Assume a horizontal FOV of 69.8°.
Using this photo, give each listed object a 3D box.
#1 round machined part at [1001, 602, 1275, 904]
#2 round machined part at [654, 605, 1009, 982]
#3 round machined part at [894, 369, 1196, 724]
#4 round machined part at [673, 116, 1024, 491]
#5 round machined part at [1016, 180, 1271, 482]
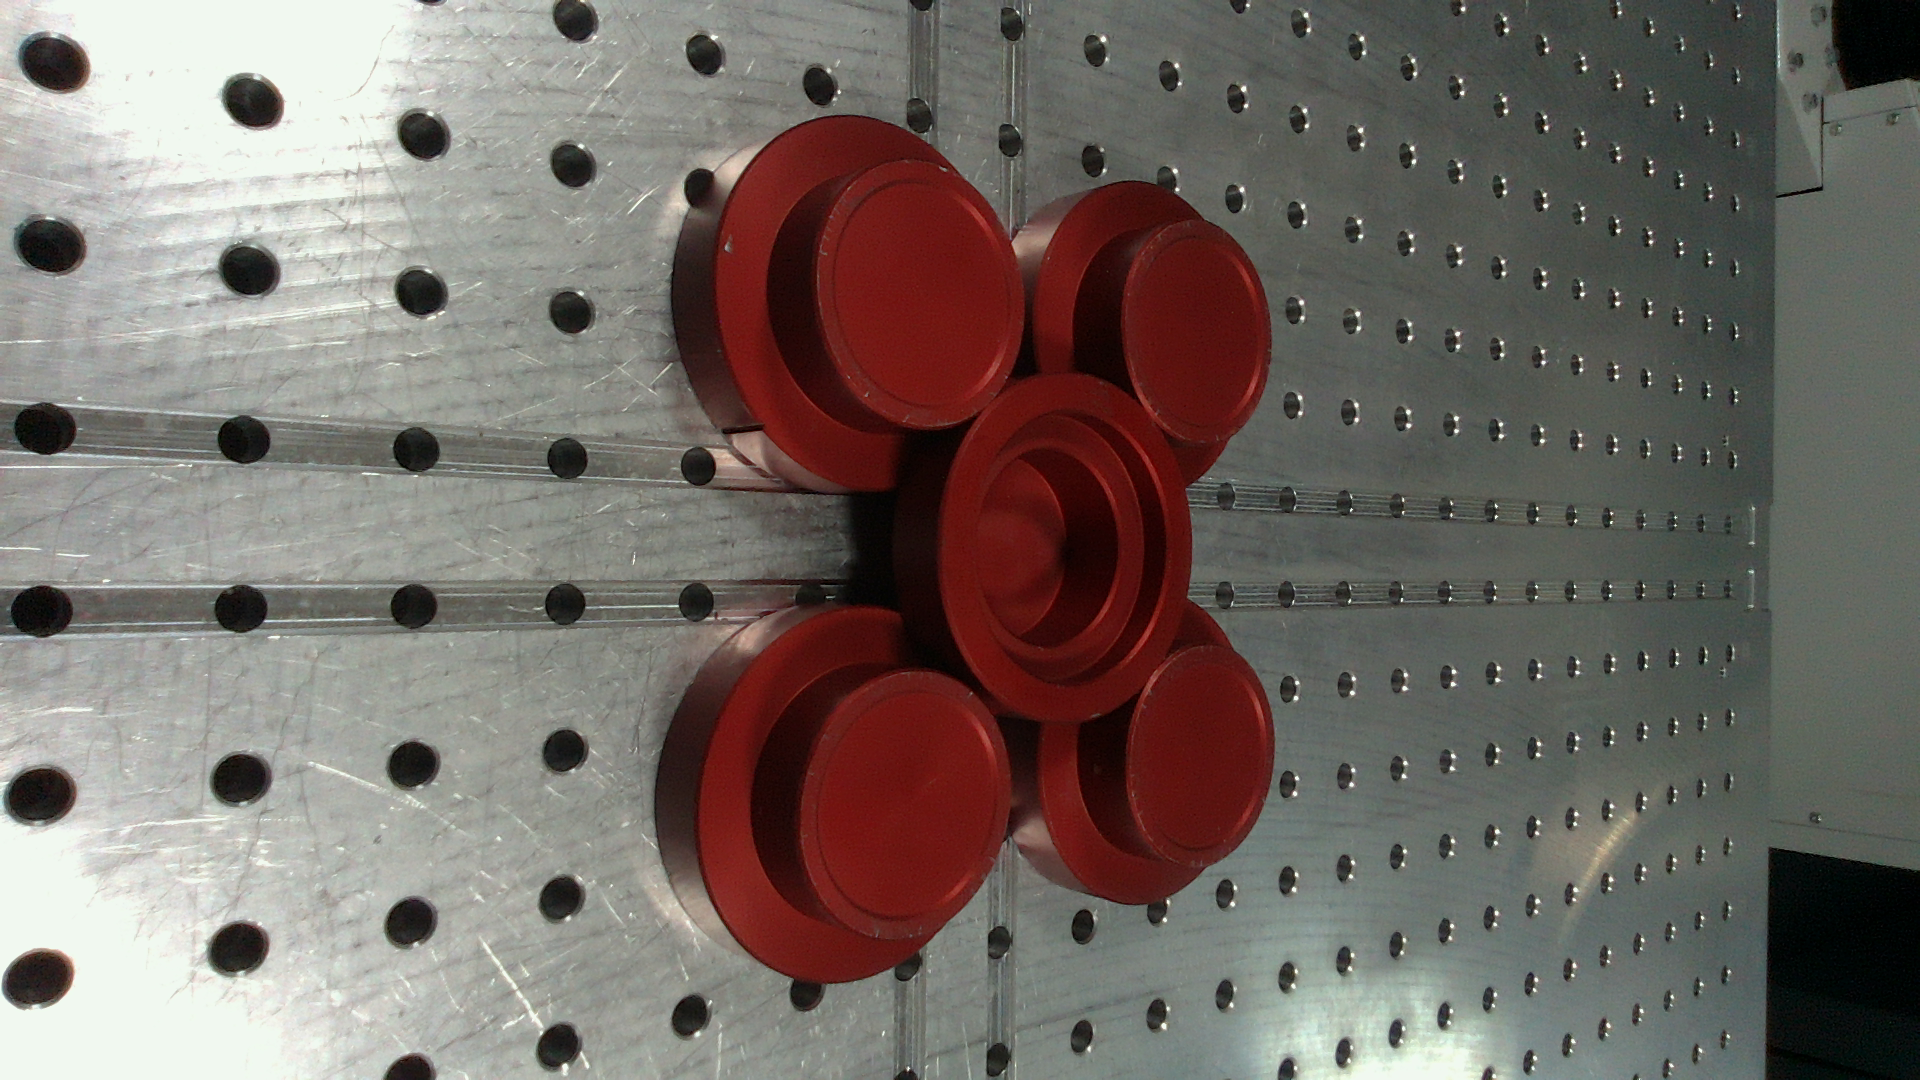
[{"bbox_3d":[0.061,0.065,0.431,0.098,0.042,0.098,0,90,-40],"label":"round machined part"},{"bbox_3d":[-0.026,0.066,0.360,0.098,0.042,0.098,0,90,-40],"label":"round machined part"},{"bbox_3d":[0.020,0.002,0.395,0.098,0.042,0.098,0,90,-40],"label":"round machined part"},{"bbox_3d":[-0.022,-0.062,0.362,0.098,0.042,0.098,0,90,-40],"label":"round machined part"},{"bbox_3d":[0.060,-0.063,0.430,0.098,0.042,0.098,0,90,-40],"label":"round machined part"}]
